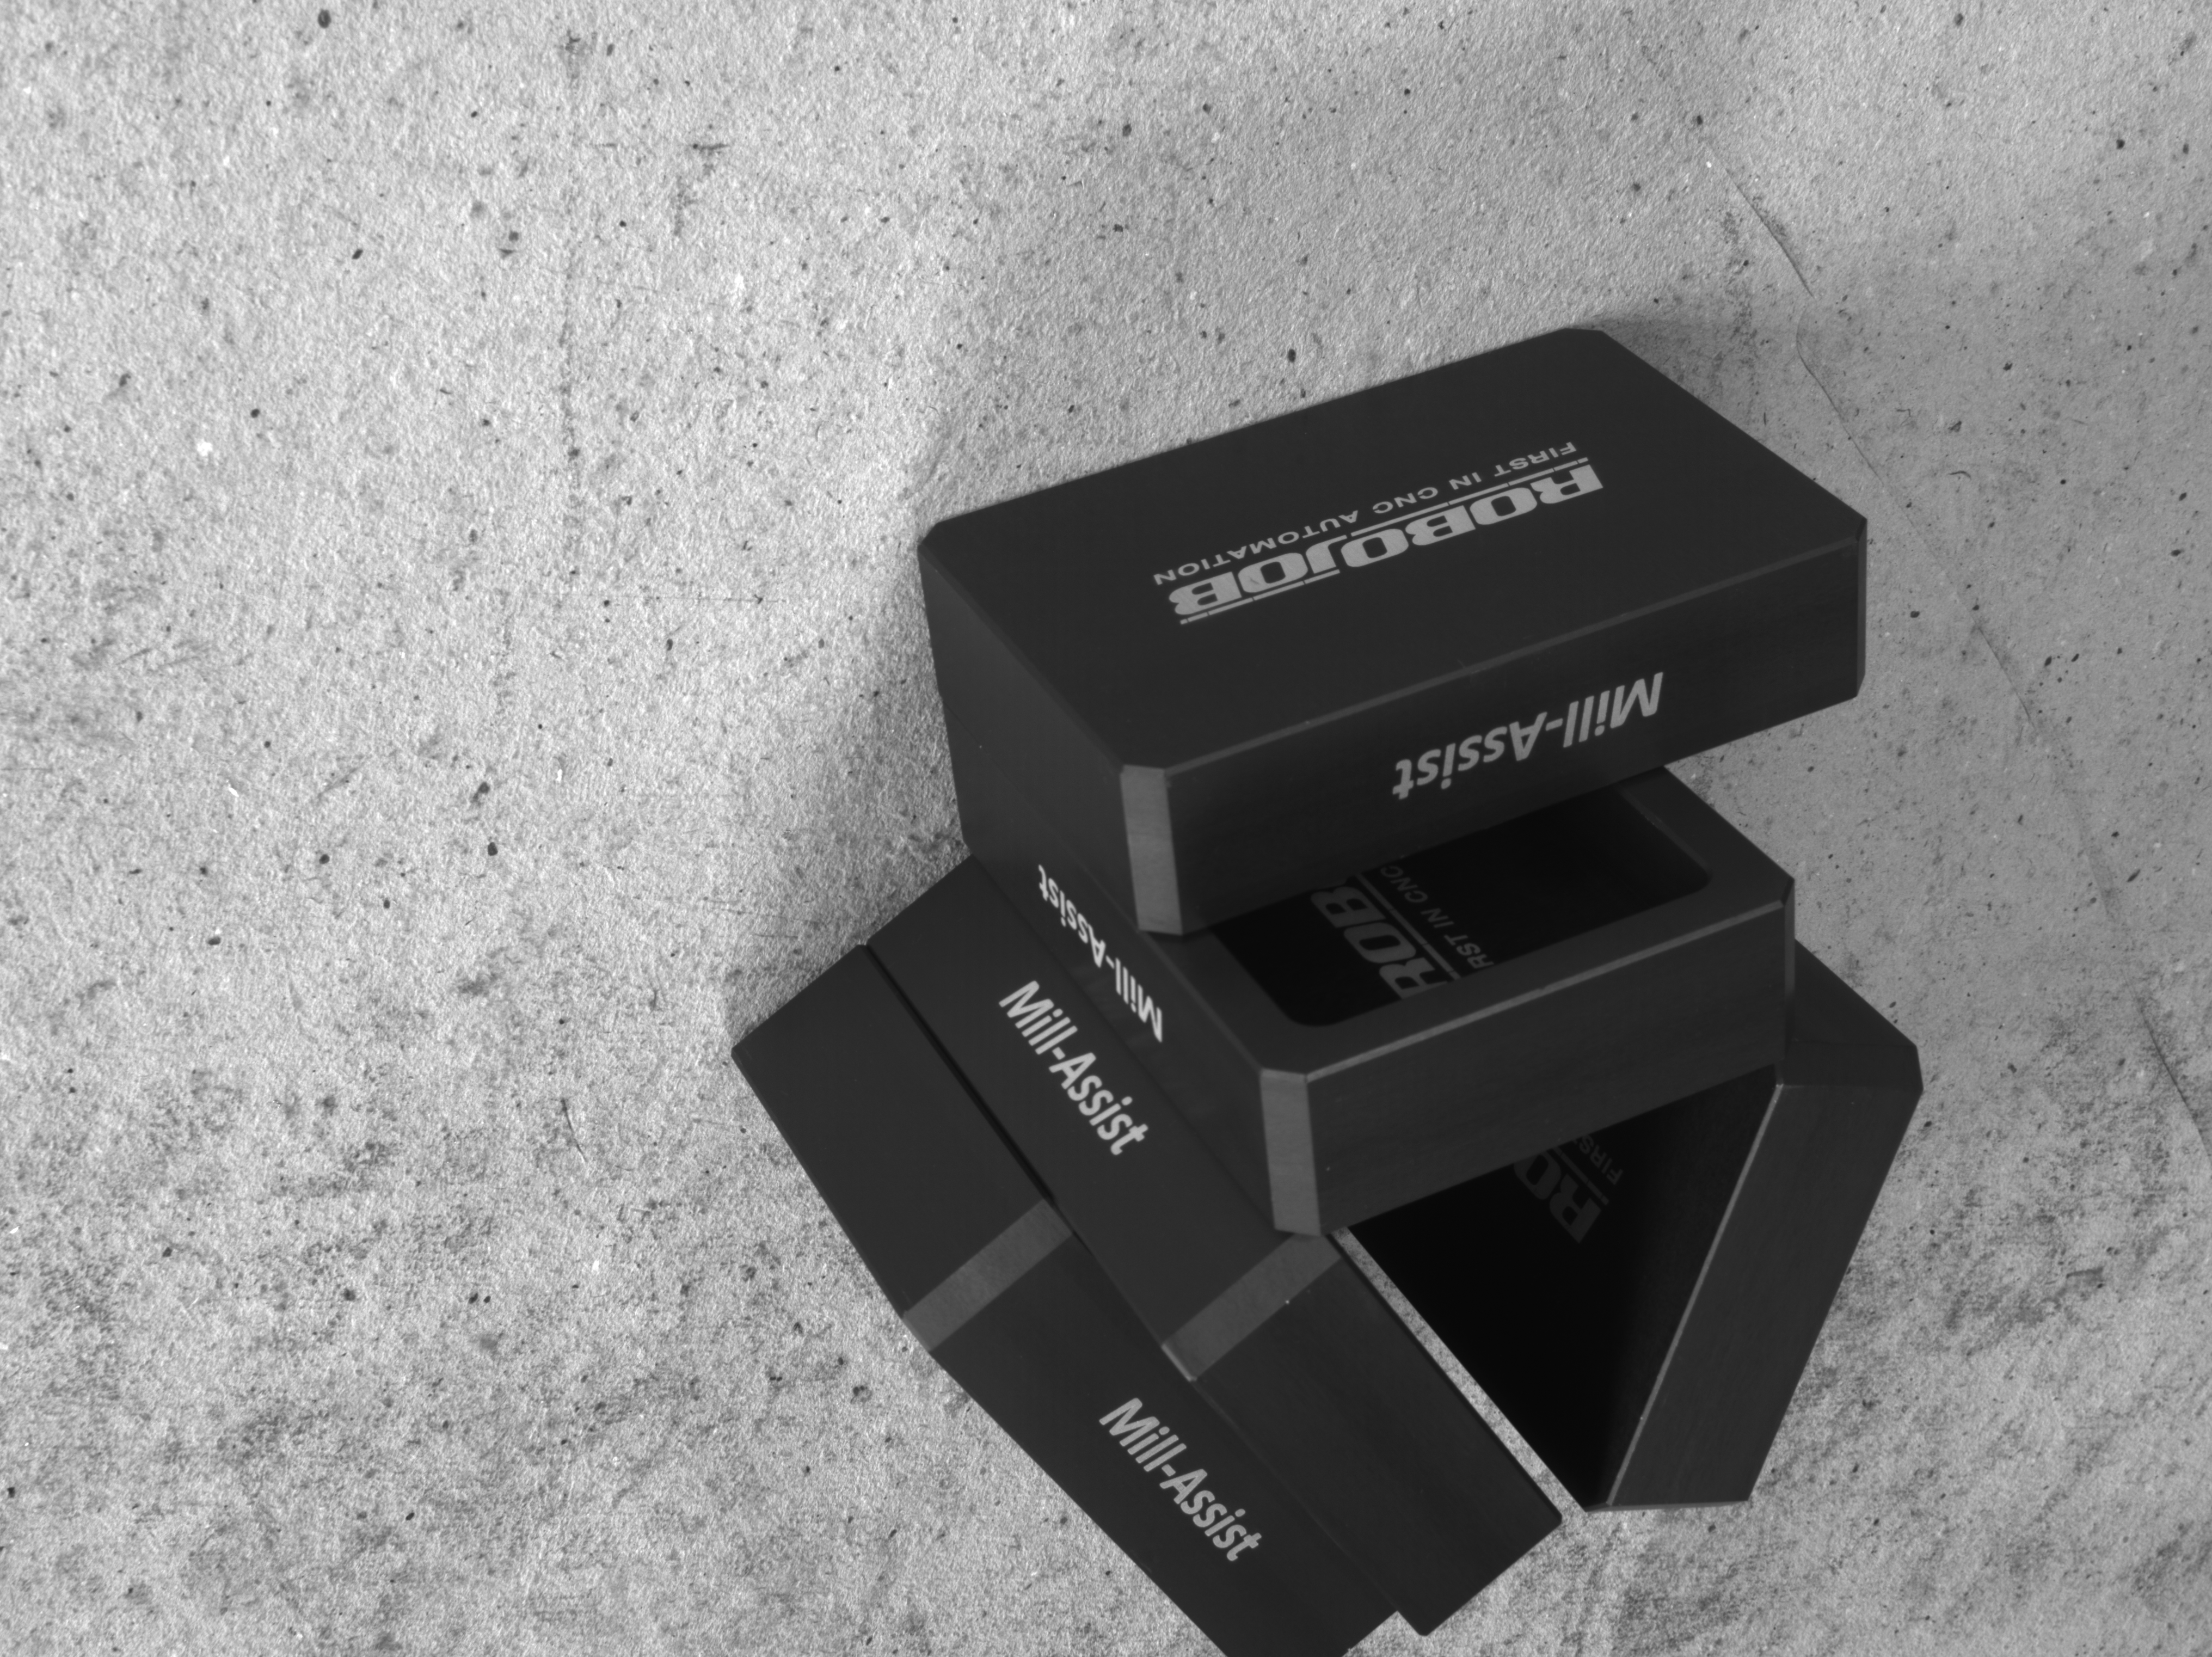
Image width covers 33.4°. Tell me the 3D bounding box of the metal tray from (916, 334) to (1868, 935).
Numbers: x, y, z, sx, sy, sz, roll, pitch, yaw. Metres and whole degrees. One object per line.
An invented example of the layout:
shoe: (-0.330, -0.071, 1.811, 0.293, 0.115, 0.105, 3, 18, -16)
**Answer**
metal tray: (0.046, -0.035, 0.598, 0.130, 0.090, 0.030, -19, 125, -18)

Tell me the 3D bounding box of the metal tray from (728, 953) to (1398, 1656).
metal tray: (-0.006, 0.089, 0.645, 0.030, 0.090, 0.130, -39, 129, -1)

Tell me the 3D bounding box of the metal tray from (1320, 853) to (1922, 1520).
metal tray: (0.078, 0.046, 0.640, 0.030, 0.130, 0.090, 5, 116, -30)

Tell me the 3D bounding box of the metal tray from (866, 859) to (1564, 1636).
metal tray: (0.016, 0.066, 0.619, 0.030, 0.130, 0.090, -40, 129, -2)

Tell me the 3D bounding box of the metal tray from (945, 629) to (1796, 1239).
metal tray: (0.040, 0.005, 0.594, 0.090, 0.130, 0.030, -19, 126, -17)
